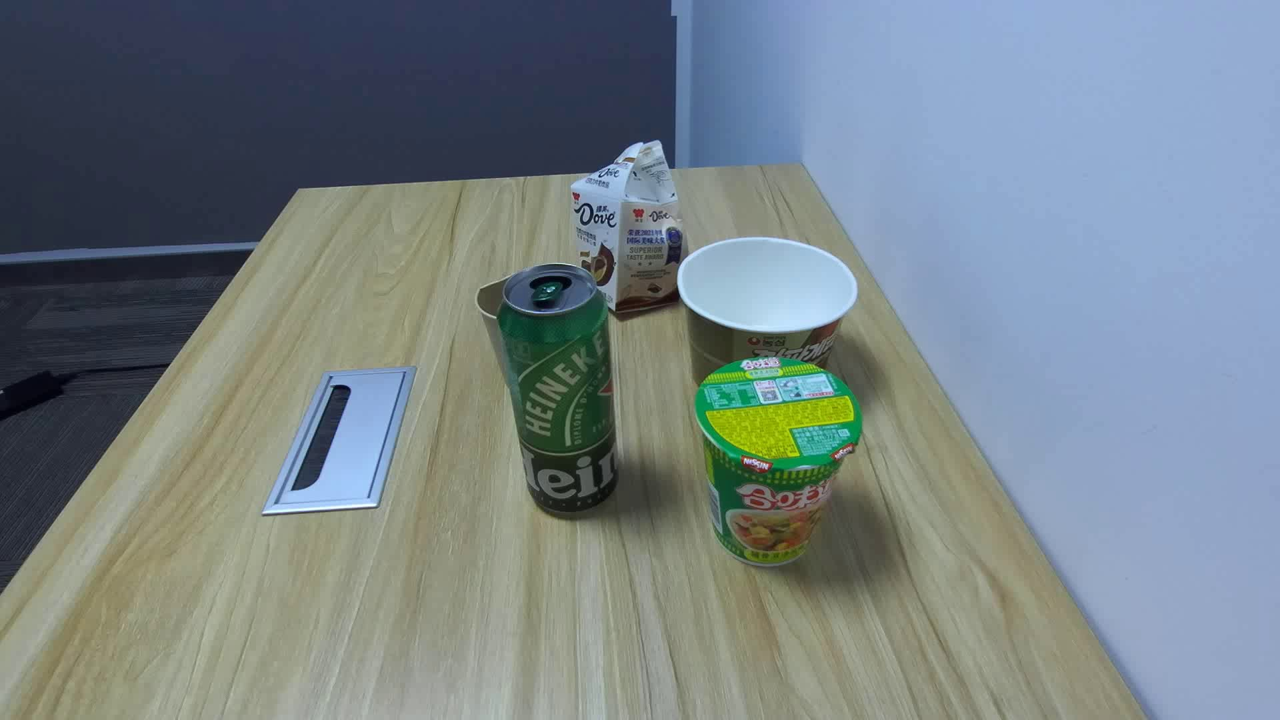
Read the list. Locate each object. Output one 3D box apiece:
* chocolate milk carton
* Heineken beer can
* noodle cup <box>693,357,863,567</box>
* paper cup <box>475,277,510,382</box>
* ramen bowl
[{"bbox_3d":[-0.011,-0.126,0.671,0.077,0.155,0.089,-19,27,-27],"label":"chocolate milk carton"},{"bbox_3d":[-0.050,0.024,0.463,0.067,0.169,0.067,-1,37,1],"label":"Heineken beer can"},{"bbox_3d":[0.081,0.070,0.446,0.097,0.110,0.097,0,39,1],"label":"noodle cup"},{"bbox_3d":[-0.093,-0.020,0.594,0.068,0.081,0.074,29,44,34],"label":"paper cup"},{"bbox_3d":[0.100,-0.026,0.580,0.140,0.095,0.140,-1,38,1],"label":"ramen bowl"}]
